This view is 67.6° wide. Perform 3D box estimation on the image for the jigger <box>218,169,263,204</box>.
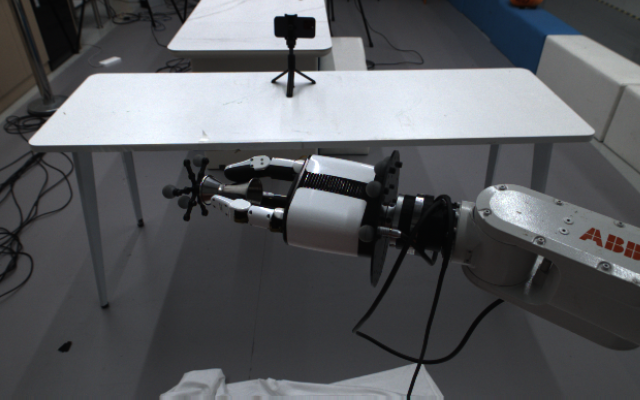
[{"bbox_3d":[-0.104,-0.015,0.610,0.071,0.043,0.043,5,34,19],"label":"jigger"}]
